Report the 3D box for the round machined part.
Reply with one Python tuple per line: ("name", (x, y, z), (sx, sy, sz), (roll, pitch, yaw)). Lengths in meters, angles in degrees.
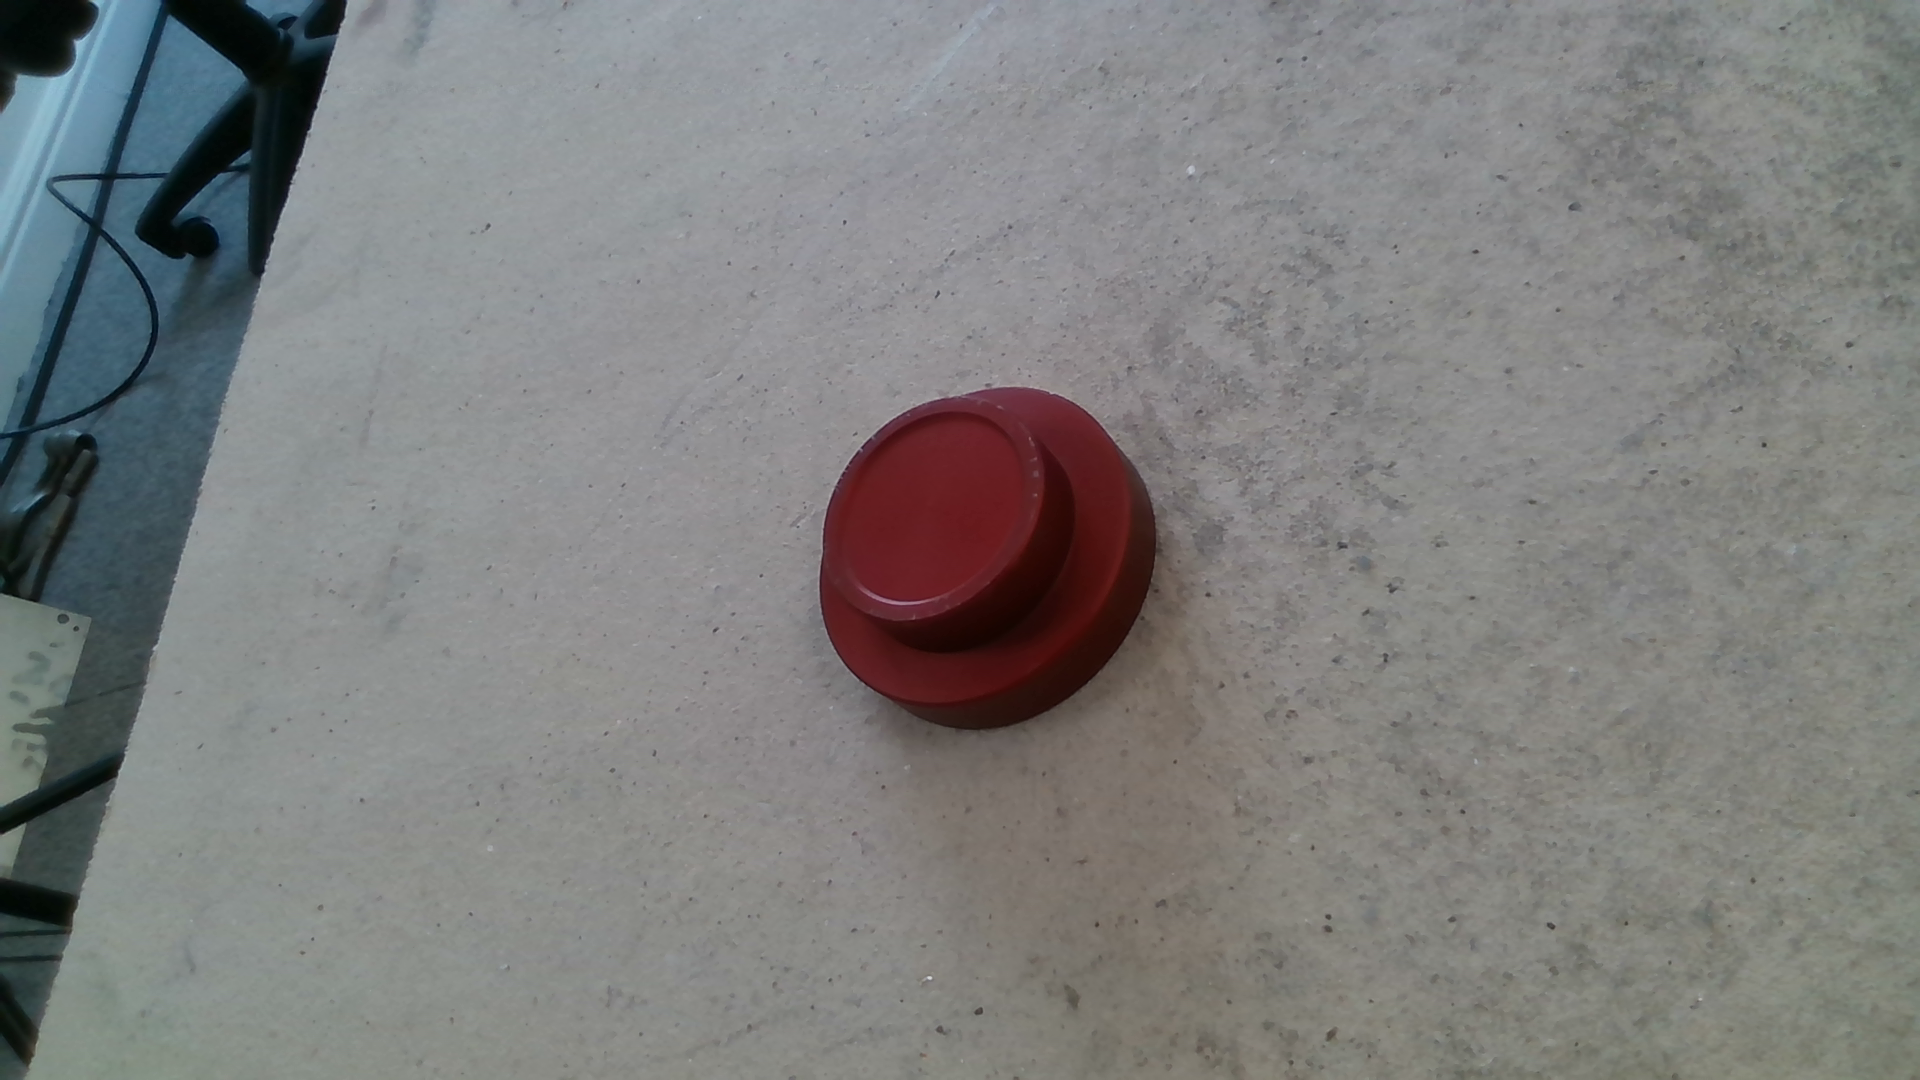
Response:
("round machined part", (0.001, 0.000, 0.382), (0.098, 0.042, 0.098), (-14, 59, 25))
